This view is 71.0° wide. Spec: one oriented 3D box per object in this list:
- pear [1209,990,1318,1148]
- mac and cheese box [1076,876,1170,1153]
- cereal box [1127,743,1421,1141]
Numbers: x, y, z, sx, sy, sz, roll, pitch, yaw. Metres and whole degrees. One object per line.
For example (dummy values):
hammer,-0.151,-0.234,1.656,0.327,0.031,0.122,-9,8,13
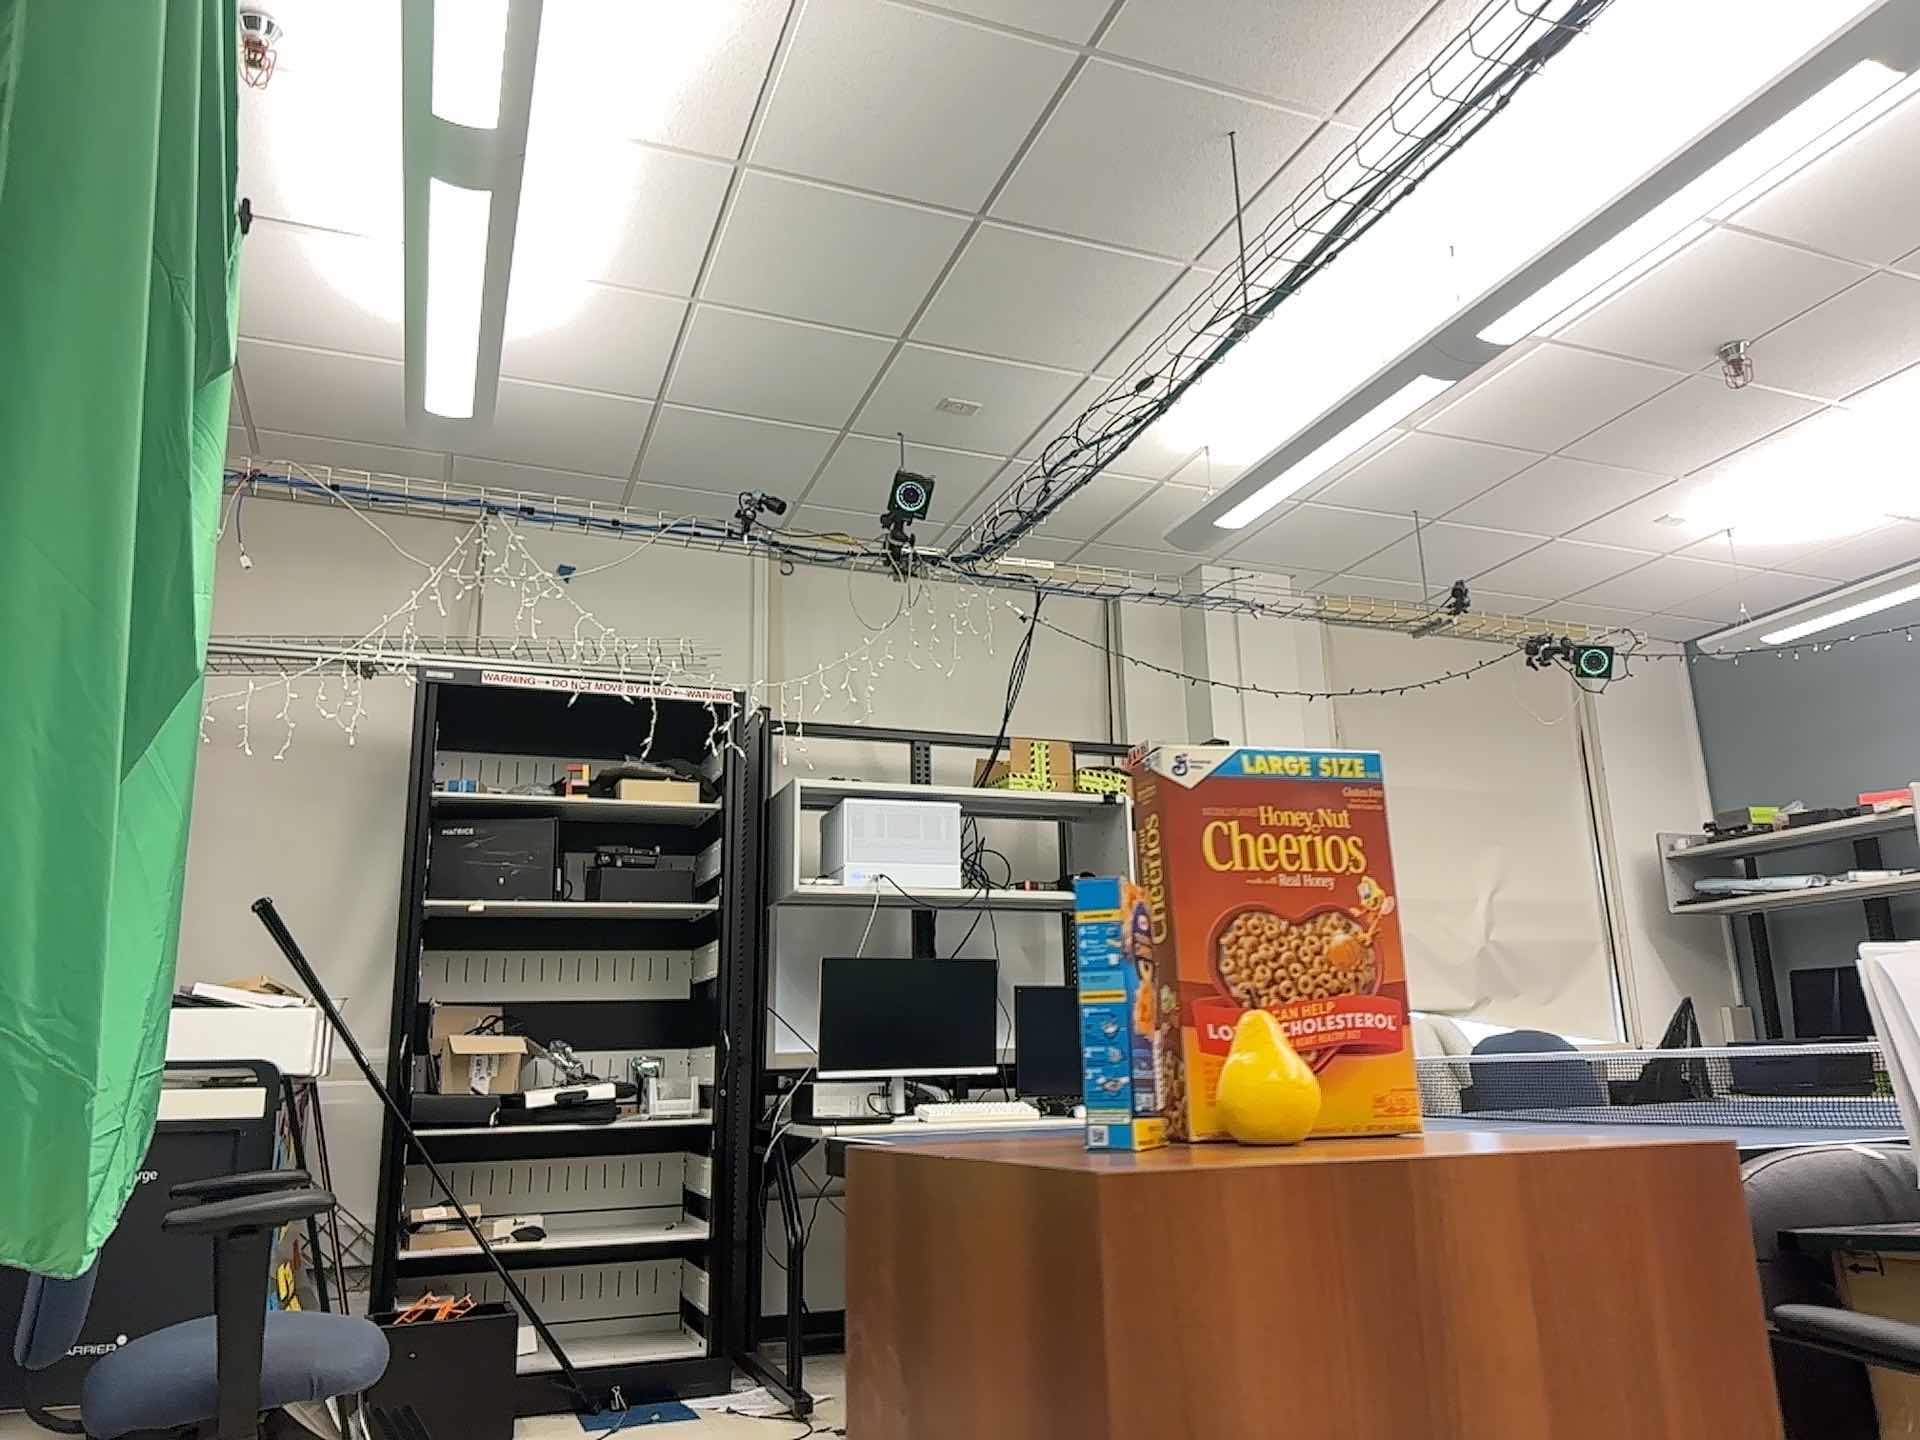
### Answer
pear,0.215,0.246,0.959,0.080,0.111,0.080,0,-19,0
mac and cheese box,0.116,0.208,0.954,0.035,0.181,0.088,-7,-17,24
cereal box,0.247,0.172,1.077,0.195,0.297,0.065,3,-15,-15
